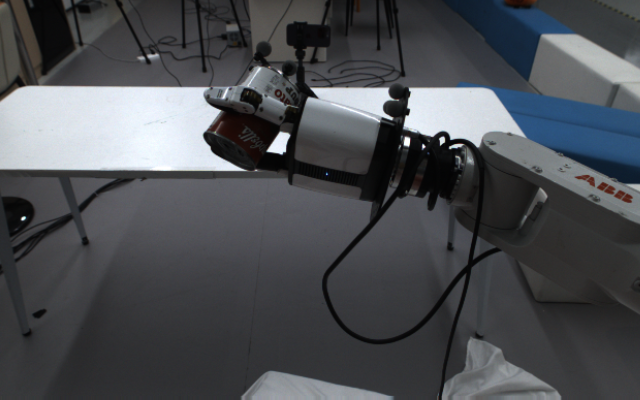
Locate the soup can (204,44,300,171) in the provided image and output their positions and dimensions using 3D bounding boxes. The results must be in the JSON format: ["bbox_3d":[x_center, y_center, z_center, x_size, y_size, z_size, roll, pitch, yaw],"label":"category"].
[{"bbox_3d":[-0.073,-0.092,0.544,0.067,0.067,0.101,23,71,27],"label":"soup can"}]
